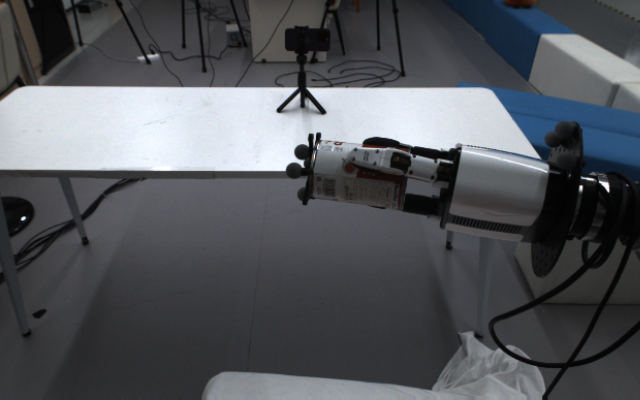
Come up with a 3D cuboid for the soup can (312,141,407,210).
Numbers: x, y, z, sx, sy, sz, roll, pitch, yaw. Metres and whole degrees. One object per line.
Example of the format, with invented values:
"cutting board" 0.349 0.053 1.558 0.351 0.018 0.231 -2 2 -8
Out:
"soup can" 0.048 -0.029 0.535 0.101 0.067 0.067 7 35 10
